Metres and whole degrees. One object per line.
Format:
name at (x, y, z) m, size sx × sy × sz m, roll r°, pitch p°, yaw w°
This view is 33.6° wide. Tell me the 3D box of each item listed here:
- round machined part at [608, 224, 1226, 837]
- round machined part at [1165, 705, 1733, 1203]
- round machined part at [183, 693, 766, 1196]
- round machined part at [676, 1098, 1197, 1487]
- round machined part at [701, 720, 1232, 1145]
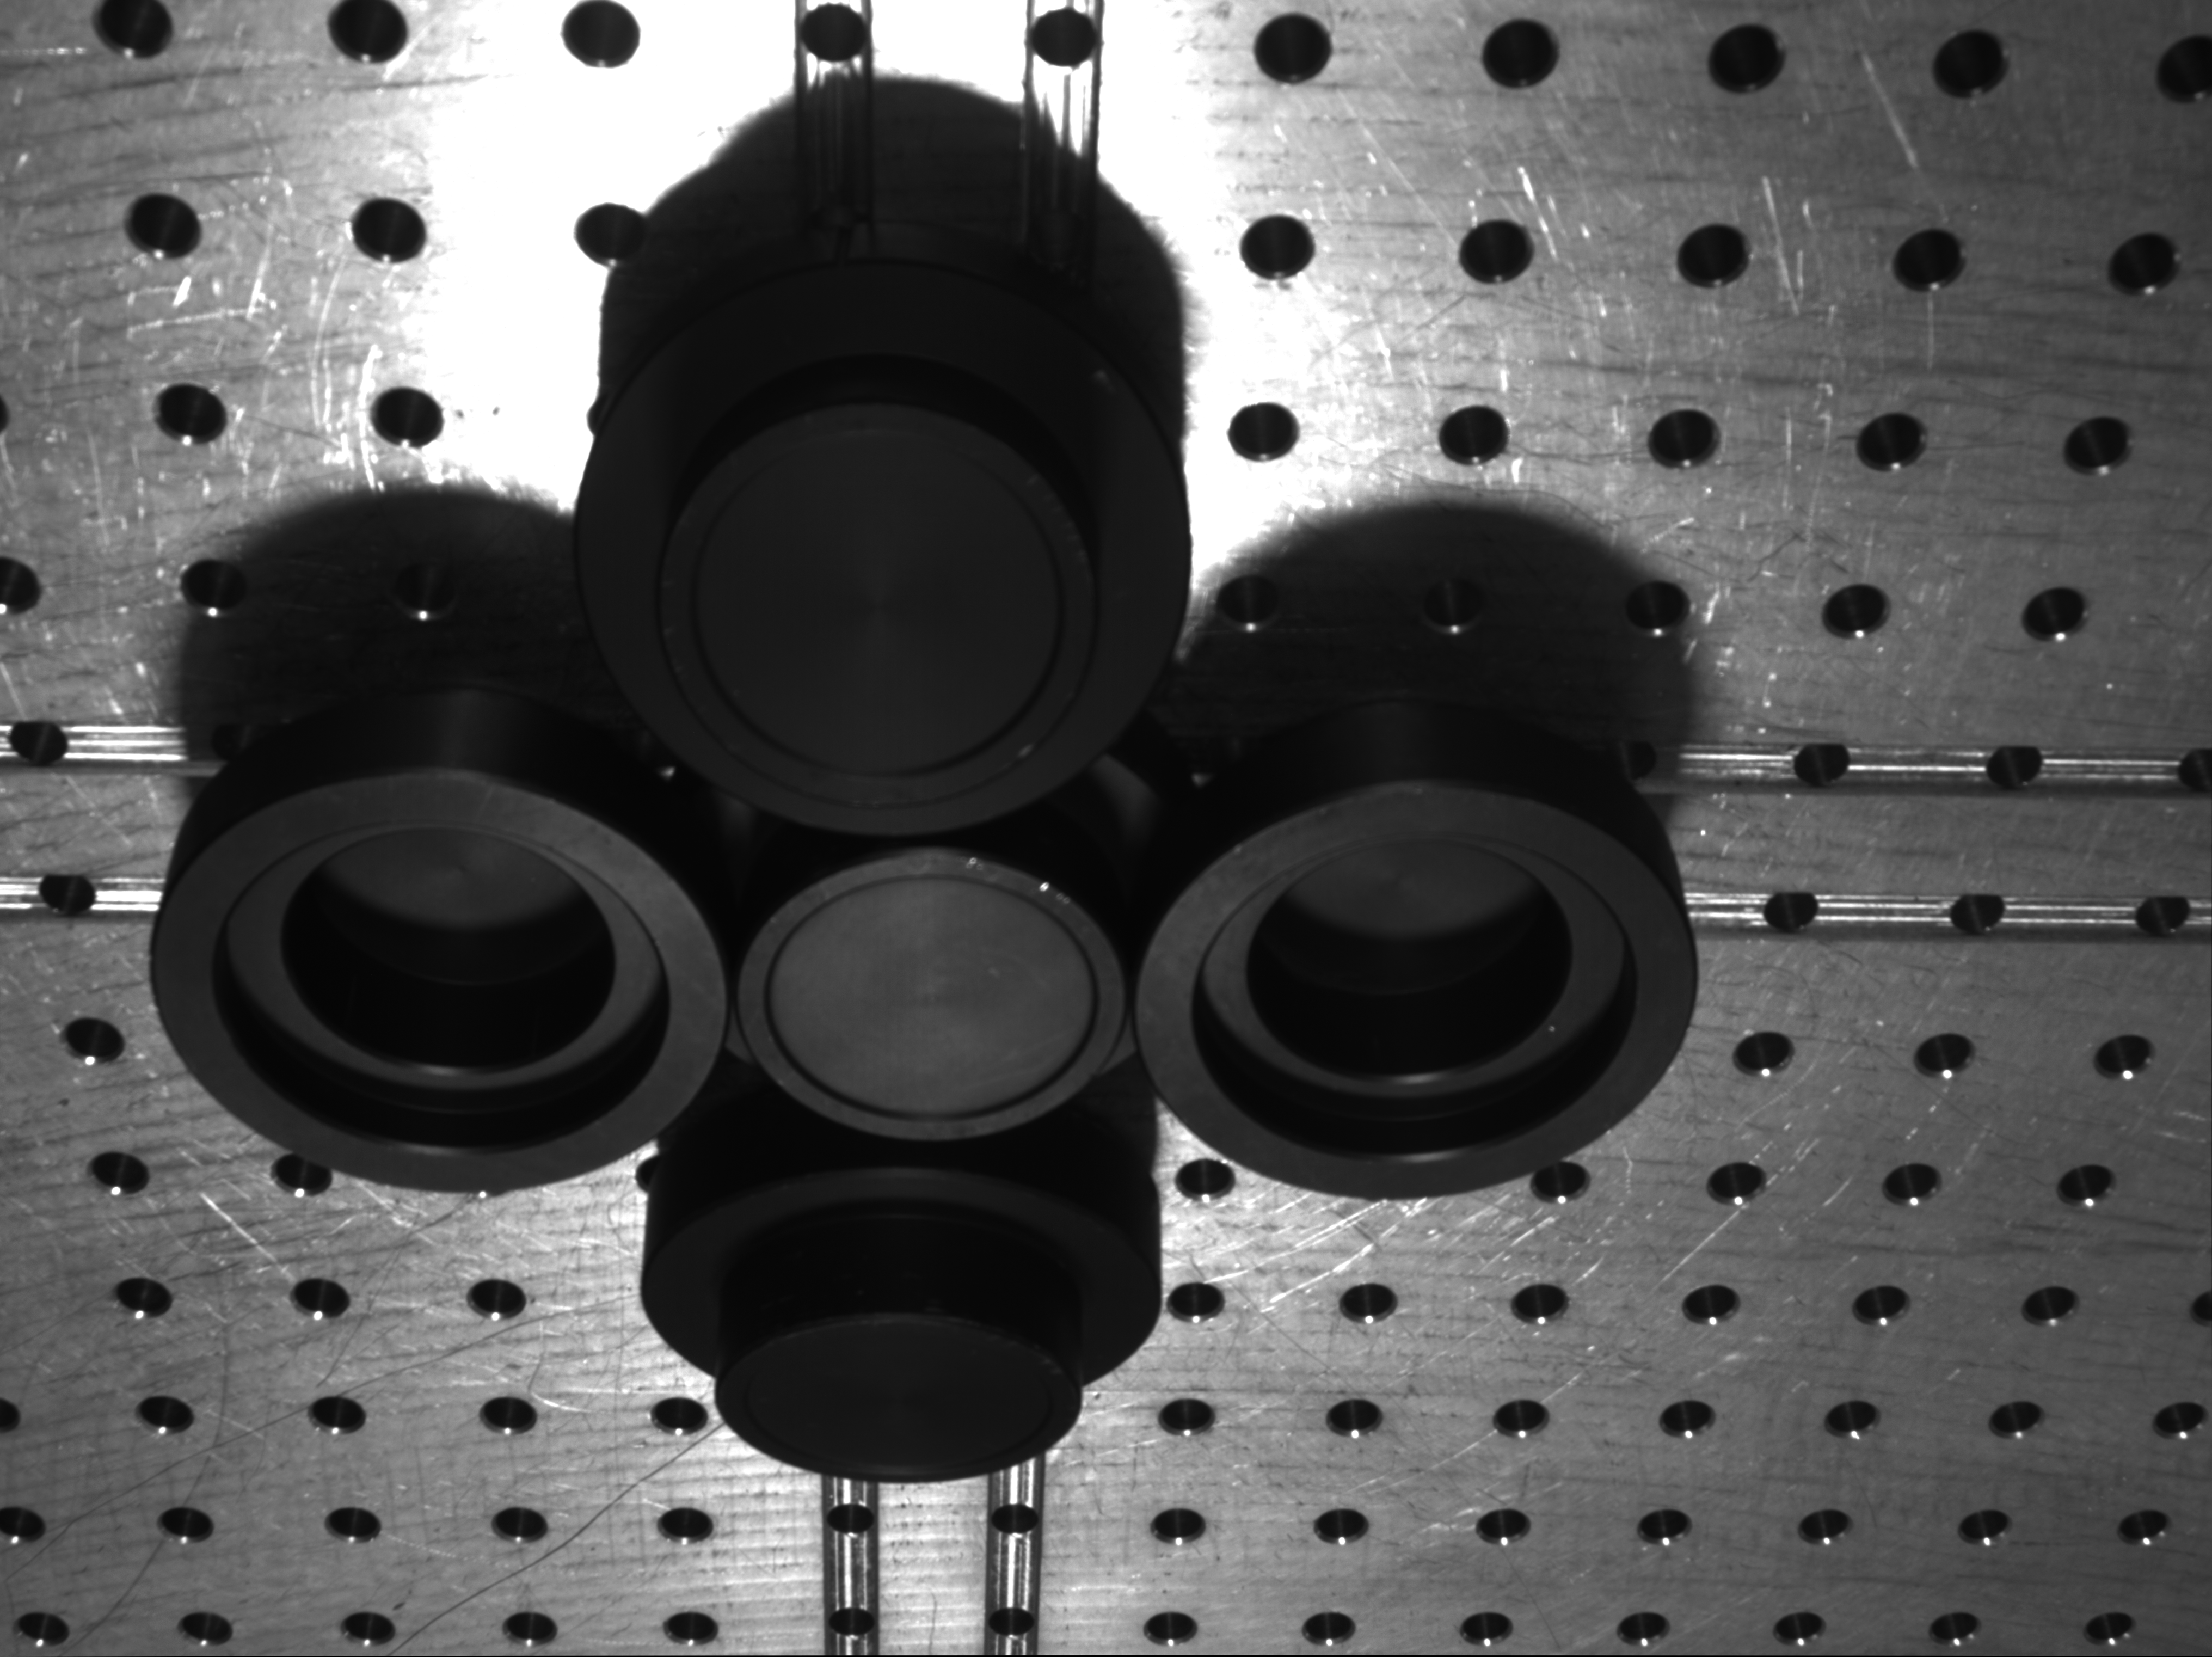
round machined part at (-0.030, -0.042, 0.579) m, size 0.098 × 0.042 × 0.098 m, roll 0°, pitch 115°, yaw 0°
round machined part at (0.059, 0.017, 0.646) m, size 0.098 × 0.042 × 0.098 m, roll -1°, pitch 130°, yaw -1°
round machined part at (-0.108, 0.015, 0.639) m, size 0.098 × 0.042 × 0.098 m, roll -1°, pitch 130°, yaw -1°
round machined part at (-0.032, 0.090, 0.690) m, size 0.098 × 0.042 × 0.098 m, roll -1°, pitch 145°, yaw 0°
round machined part at (-0.025, 0.017, 0.643) m, size 0.098 × 0.042 × 0.098 m, roll -1°, pitch 130°, yaw -1°
